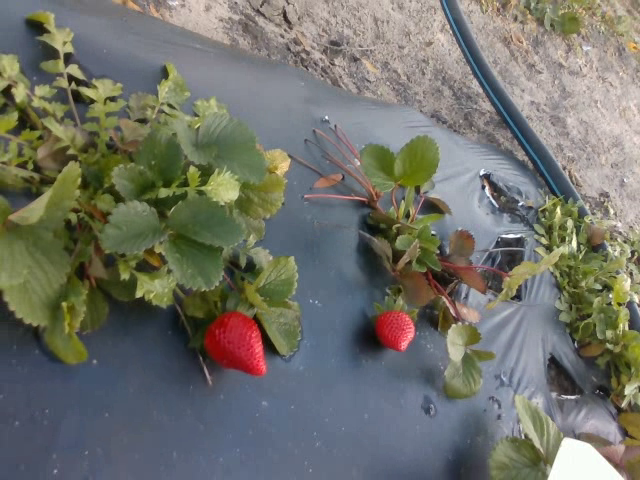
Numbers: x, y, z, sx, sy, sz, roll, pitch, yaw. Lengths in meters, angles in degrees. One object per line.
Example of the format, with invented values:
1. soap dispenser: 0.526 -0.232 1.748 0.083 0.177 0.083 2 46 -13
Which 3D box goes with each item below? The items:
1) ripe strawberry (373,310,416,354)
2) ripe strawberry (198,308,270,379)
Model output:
1. ripe strawberry: 0.062 0.080 0.493 0.041 0.045 0.052 -15 25 6
2. ripe strawberry: -0.051 0.072 0.384 0.050 0.046 0.051 33 -13 51
